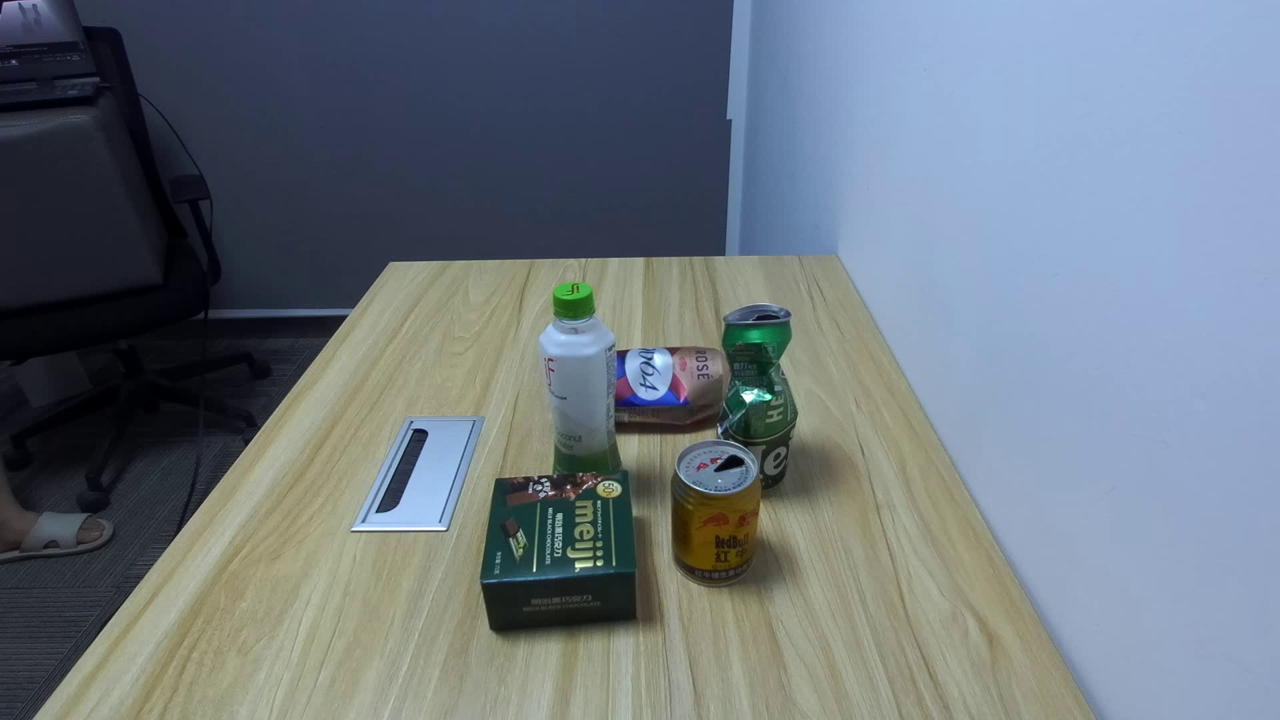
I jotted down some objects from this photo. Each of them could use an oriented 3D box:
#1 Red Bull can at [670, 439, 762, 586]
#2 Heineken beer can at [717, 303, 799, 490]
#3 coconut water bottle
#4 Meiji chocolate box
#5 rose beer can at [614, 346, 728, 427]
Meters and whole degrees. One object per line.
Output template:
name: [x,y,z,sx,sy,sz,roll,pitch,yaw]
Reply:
Red Bull can: [0.057,0.114,0.533,0.069,0.092,0.069,-1,32,1]
Heineken beer can: [0.099,0.035,0.599,0.067,0.159,0.078,-12,25,-23]
coconut water bottle: [-0.048,0.028,0.584,0.063,0.189,0.063,-2,30,1]
Meiji chocolate box: [-0.059,0.141,0.536,0.109,0.056,0.109,-3,32,-3]
rose beer can: [0.011,0.024,0.708,0.168,0.069,0.070,-3,12,-6]
